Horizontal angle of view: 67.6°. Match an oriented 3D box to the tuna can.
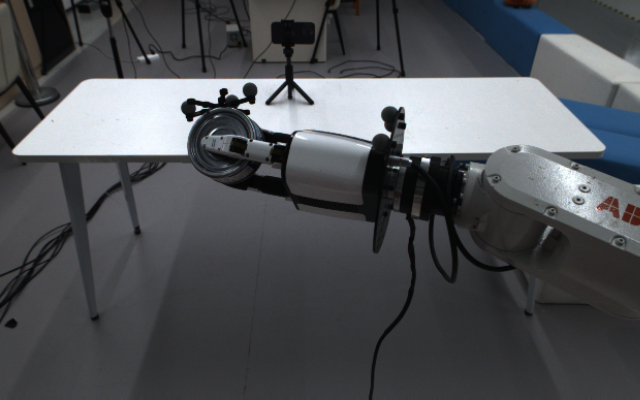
[{"bbox_3d":[-0.105,-0.058,0.559,0.085,0.085,0.034,12,-6,15],"label":"tuna can"}]
